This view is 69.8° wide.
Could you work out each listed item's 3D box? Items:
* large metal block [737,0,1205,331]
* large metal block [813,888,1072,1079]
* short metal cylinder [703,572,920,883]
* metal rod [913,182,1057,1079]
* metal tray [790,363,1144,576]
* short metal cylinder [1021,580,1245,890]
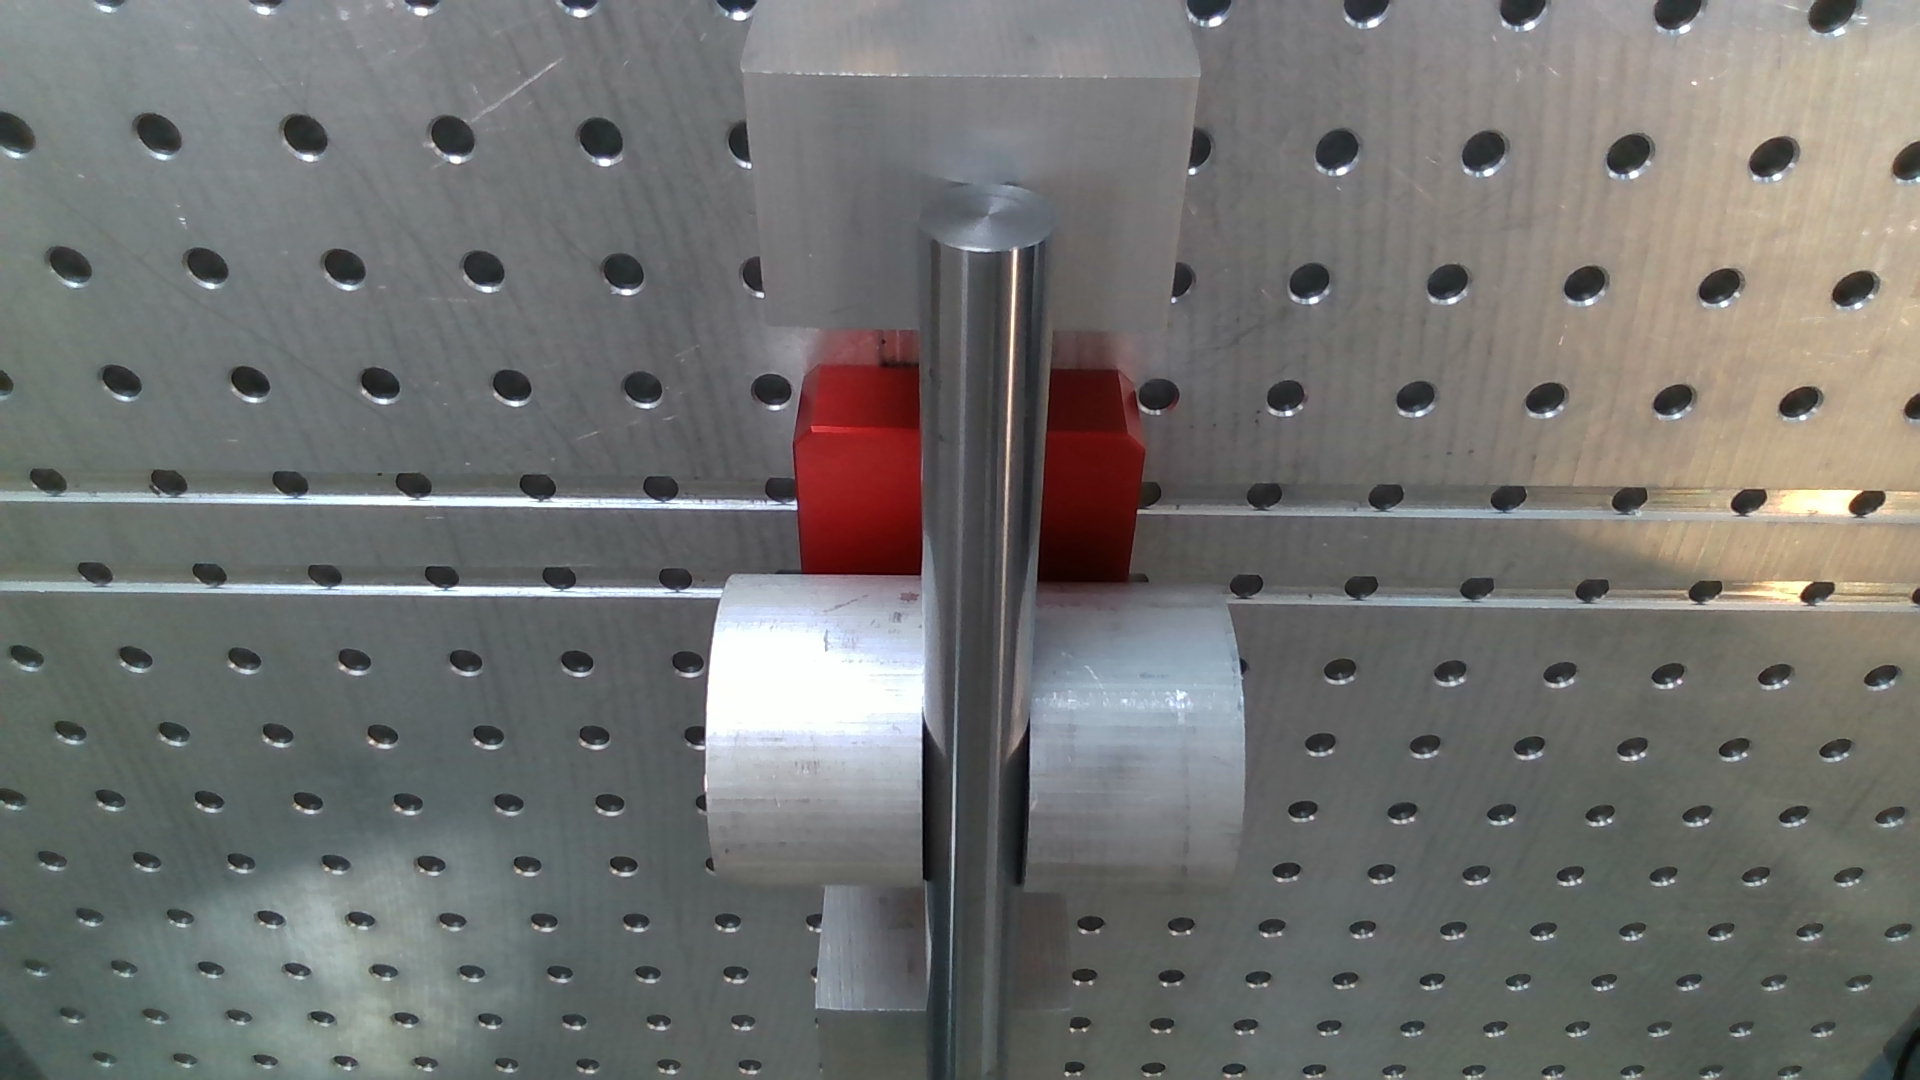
[{"bbox_3d":[0.002,-0.086,0.282,0.080,0.080,0.050,1,130,0],"label":"large metal block"},{"bbox_3d":[-0.006,0.138,0.471,0.080,0.080,0.050,1,130,0],"label":"large metal block"},{"bbox_3d":[-0.035,0.048,0.358,0.050,0.080,0.080,1,130,0],"label":"short metal cylinder"},{"bbox_3d":[0.003,0.058,0.336,0.025,0.025,0.301,0,130,0],"label":"metal rod"},{"bbox_3d":[0.001,0.012,0.399,0.090,0.030,0.130,1,130,-1],"label":"metal tray"},{"bbox_3d":[0.041,0.050,0.360,0.050,0.080,0.080,1,130,0],"label":"short metal cylinder"}]
